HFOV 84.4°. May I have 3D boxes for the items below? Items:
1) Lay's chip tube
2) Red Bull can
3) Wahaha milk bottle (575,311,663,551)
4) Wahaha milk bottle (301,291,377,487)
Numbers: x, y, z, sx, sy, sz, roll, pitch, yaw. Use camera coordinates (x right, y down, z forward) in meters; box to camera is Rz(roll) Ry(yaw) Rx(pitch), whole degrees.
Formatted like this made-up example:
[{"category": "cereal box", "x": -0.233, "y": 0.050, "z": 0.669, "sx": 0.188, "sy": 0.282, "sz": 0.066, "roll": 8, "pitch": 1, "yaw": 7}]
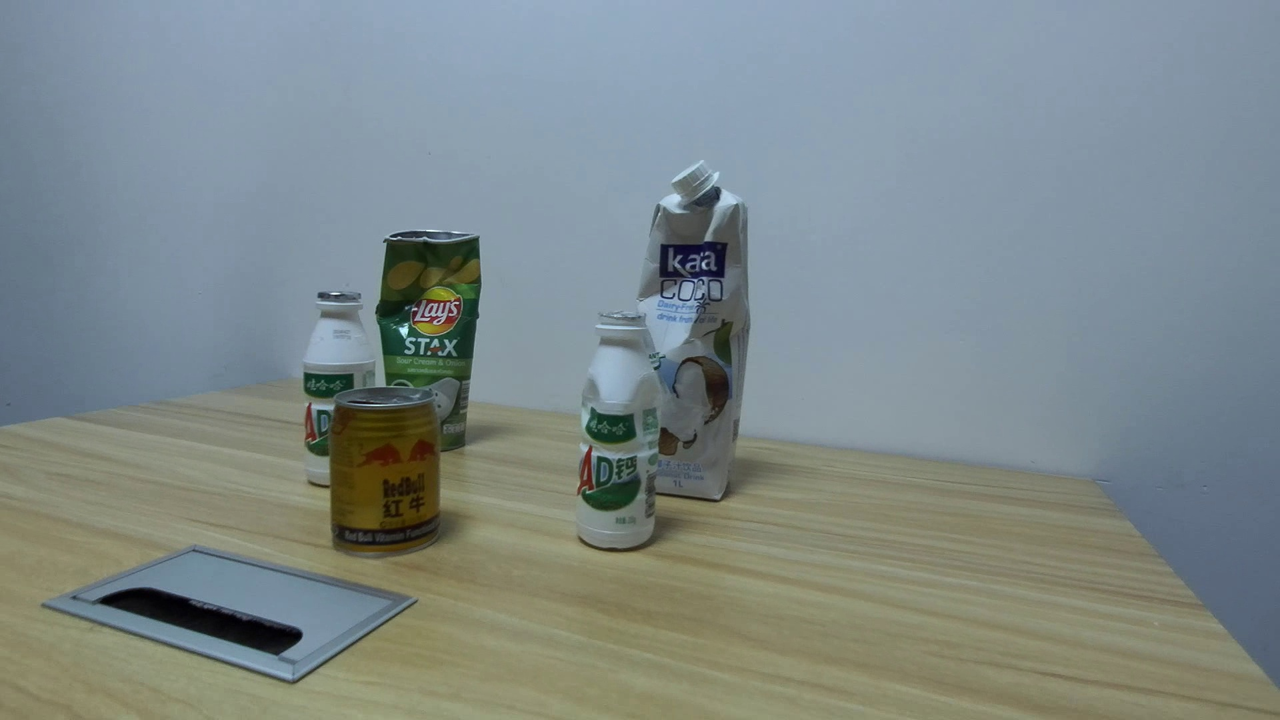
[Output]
[{"category": "Lay's chip tube", "x": -0.198, "y": -0.019, "z": 0.664, "sx": 0.078, "sy": 0.201, "sz": 0.069, "roll": -8, "pitch": 12, "yaw": -39}, {"category": "Red Bull can", "x": -0.160, "y": 0.069, "z": 0.445, "sx": 0.067, "sy": 0.093, "sz": 0.067, "roll": 2, "pitch": 8, "yaw": 0}, {"category": "Wahaha milk bottle", "x": -0.015, "y": 0.044, "z": 0.455, "sx": 0.055, "sy": 0.149, "sz": 0.055, "roll": 2, "pitch": 9, "yaw": 0}, {"category": "Wahaha milk bottle", "x": -0.233, "y": 0.020, "z": 0.553, "sx": 0.053, "sy": 0.147, "sz": 0.053, "roll": 3, "pitch": 11, "yaw": 0}]
